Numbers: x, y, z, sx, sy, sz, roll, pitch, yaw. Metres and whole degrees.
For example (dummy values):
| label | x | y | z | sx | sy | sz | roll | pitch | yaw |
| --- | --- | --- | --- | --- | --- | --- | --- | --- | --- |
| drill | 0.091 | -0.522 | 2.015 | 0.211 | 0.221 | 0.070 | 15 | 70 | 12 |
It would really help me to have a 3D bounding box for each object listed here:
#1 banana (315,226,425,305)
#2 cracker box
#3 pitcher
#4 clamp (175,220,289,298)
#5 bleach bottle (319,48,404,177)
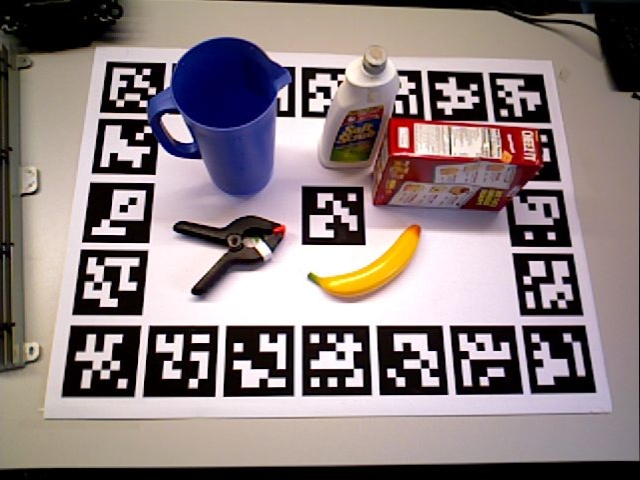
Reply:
| label | x | y | z | sx | sy | sz | roll | pitch | yaw |
| --- | --- | --- | --- | --- | --- | --- | --- | --- | --- |
| banana | 0.092 | 0.045 | 0.830 | 0.195 | 0.039 | 0.074 | -31 | 74 | -13 |
| cracker box | 0.208 | -0.097 | 0.796 | 0.212 | 0.167 | 0.071 | 3 | 66 | -1 |
| pitcher | -0.127 | -0.156 | 0.749 | 0.186 | 0.247 | 0.132 | -16 | 70 | -13 |
| clamp | -0.126 | 0.014 | 0.821 | 0.163 | 0.037 | 0.121 | -14 | 70 | -10 |
| bleach bottle | 0.057 | -0.182 | 0.789 | 0.102 | 0.255 | 0.067 | 2 | 68 | -3 |
